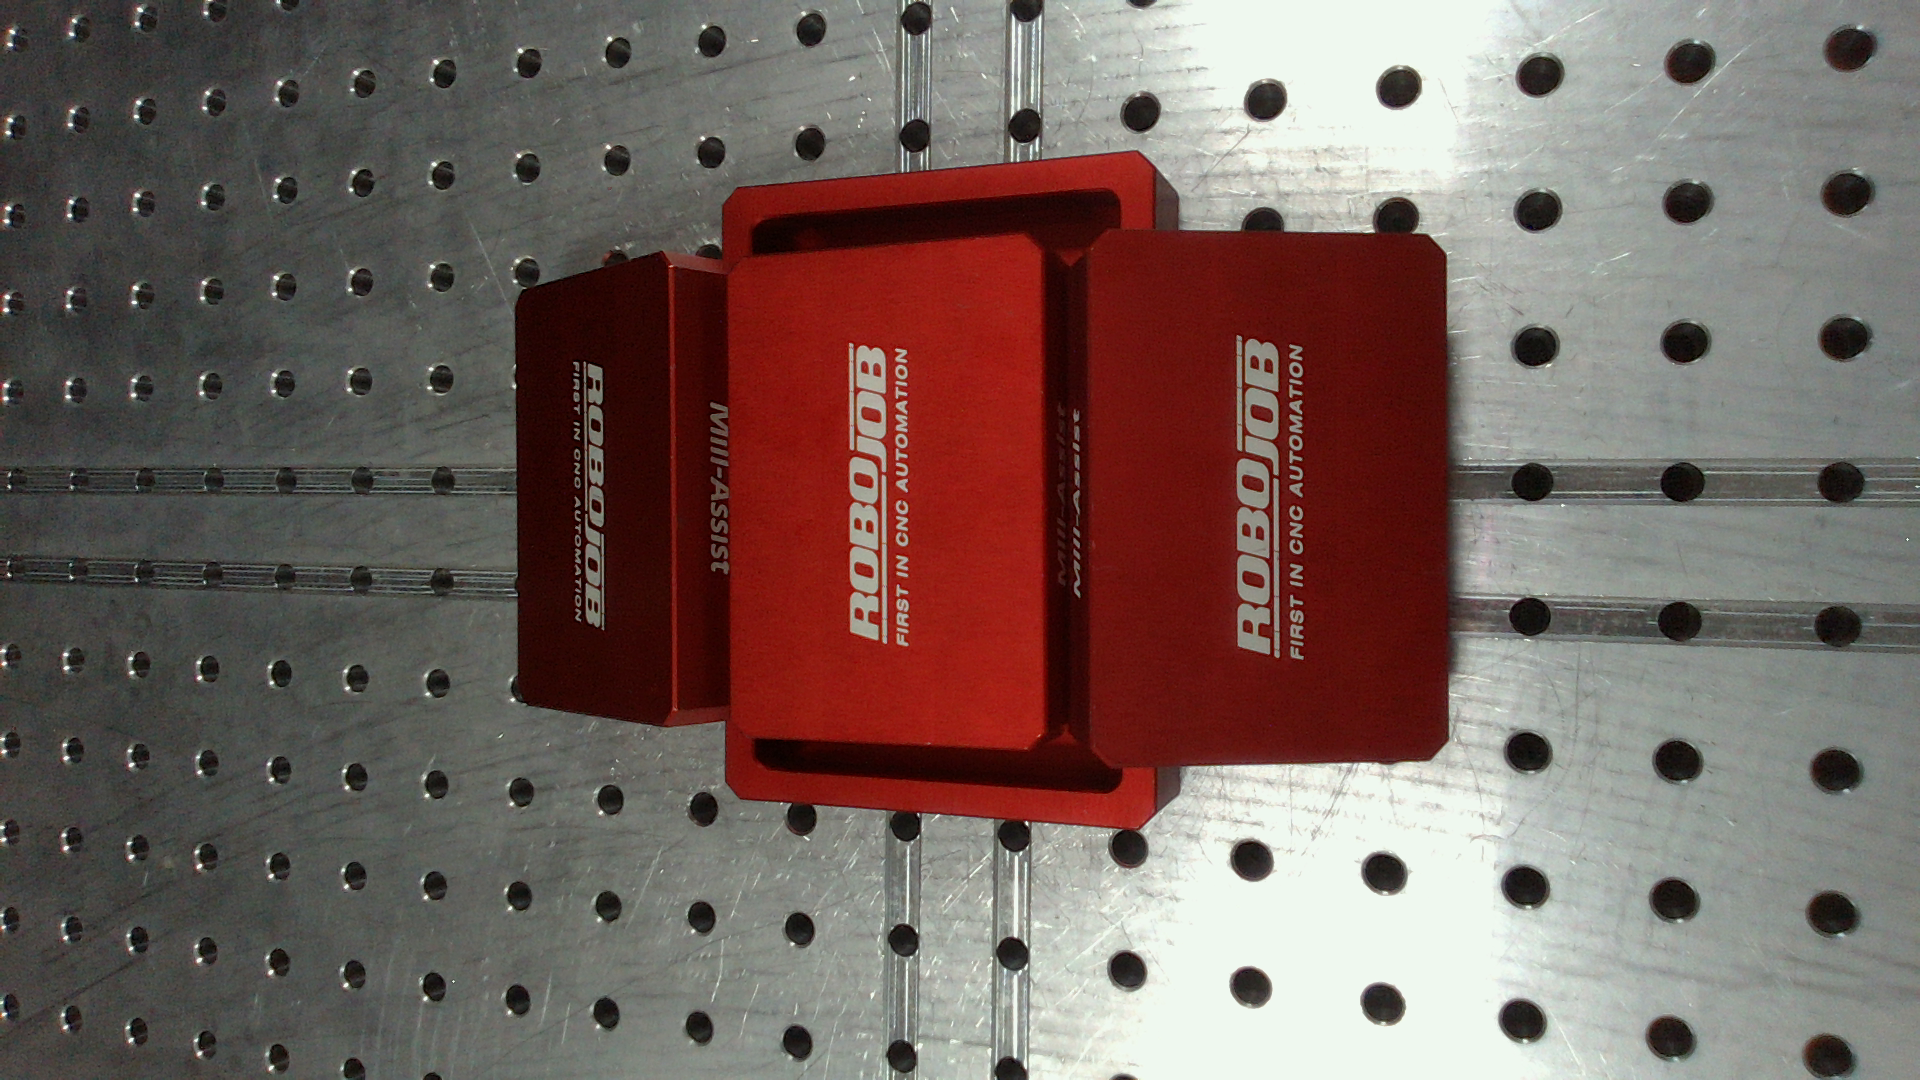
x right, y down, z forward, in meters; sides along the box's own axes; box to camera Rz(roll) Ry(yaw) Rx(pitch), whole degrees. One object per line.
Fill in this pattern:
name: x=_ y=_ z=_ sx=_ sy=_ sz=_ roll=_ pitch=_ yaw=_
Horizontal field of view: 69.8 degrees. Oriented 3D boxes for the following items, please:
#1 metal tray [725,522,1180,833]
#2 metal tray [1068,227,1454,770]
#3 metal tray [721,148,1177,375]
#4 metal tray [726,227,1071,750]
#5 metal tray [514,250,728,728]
metal tray: x=-0.004 y=0.032 z=0.397 sx=0.130 sy=0.030 sz=0.090 roll=0 pitch=91 yaw=20
metal tray: x=0.075 y=-0.010 z=0.348 sx=0.090 sy=0.030 sz=0.130 roll=-1 pitch=90 yaw=-7
metal tray: x=-0.005 y=-0.059 z=0.397 sx=0.130 sy=0.030 sz=0.090 roll=0 pitch=91 yaw=20
metal tray: x=-0.015 y=-0.012 z=0.369 sx=0.090 sy=0.030 sz=0.130 roll=-1 pitch=90 yaw=20
metal tray: x=-0.099 y=-0.014 z=0.412 sx=0.090 sy=0.030 sz=0.130 roll=0 pitch=90 yaw=46
